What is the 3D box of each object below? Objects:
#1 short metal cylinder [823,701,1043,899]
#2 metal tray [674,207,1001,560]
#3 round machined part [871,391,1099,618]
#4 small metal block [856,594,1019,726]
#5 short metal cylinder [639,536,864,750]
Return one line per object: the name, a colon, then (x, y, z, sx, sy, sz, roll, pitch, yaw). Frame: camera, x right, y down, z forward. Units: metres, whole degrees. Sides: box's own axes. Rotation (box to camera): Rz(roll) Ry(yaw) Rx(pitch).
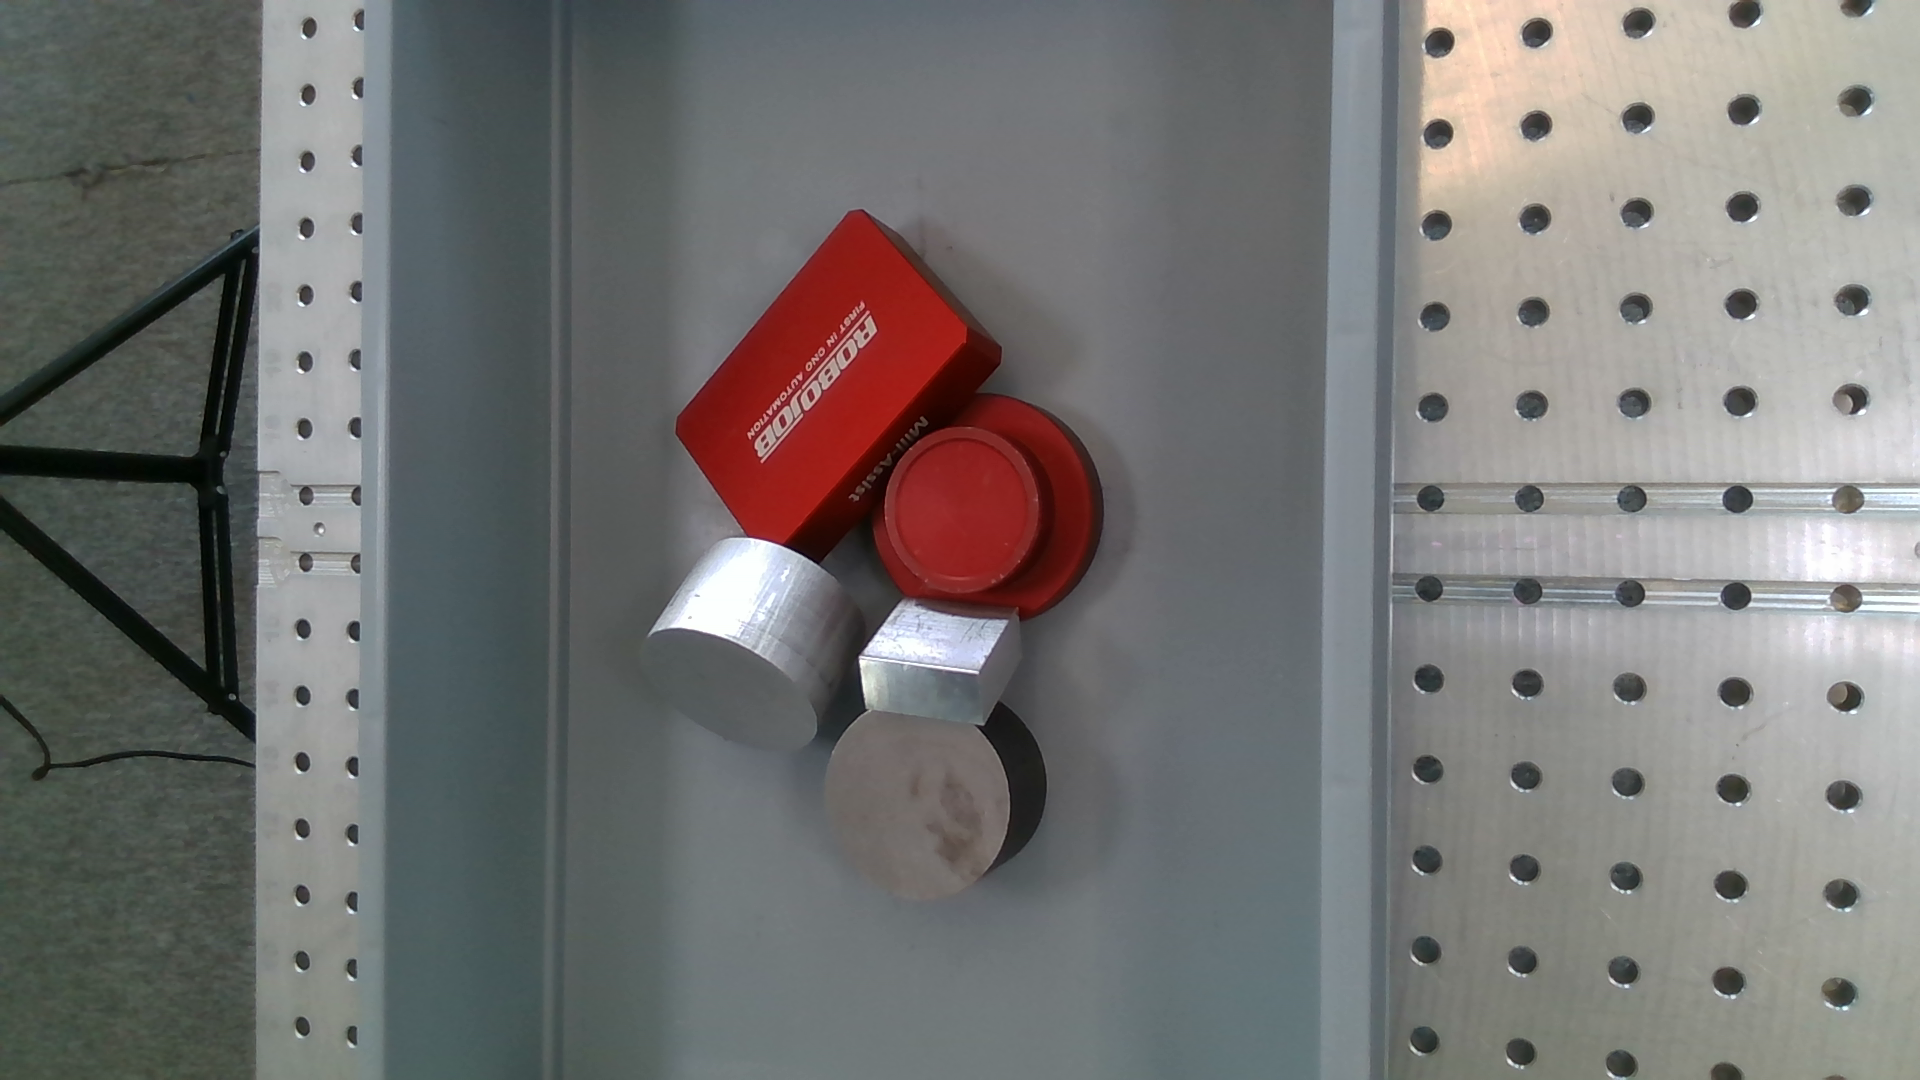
short metal cylinder: (-0.010, 0.104, 0.576, 0.080, 0.050, 0.080, 0, 91, 20)
metal tray: (-0.055, -0.065, 0.589, 0.130, 0.030, 0.090, -47, 60, 15)
round machined part: (0.007, -0.013, 0.572, 0.098, 0.042, 0.098, 0, 91, 20)
small metal block: (-0.008, 0.047, 0.555, 0.050, 0.050, 0.025, 5, 120, 19)
short metal cylinder: (-0.087, 0.044, 0.581, 0.080, 0.080, 0.050, 10, 51, 20)
